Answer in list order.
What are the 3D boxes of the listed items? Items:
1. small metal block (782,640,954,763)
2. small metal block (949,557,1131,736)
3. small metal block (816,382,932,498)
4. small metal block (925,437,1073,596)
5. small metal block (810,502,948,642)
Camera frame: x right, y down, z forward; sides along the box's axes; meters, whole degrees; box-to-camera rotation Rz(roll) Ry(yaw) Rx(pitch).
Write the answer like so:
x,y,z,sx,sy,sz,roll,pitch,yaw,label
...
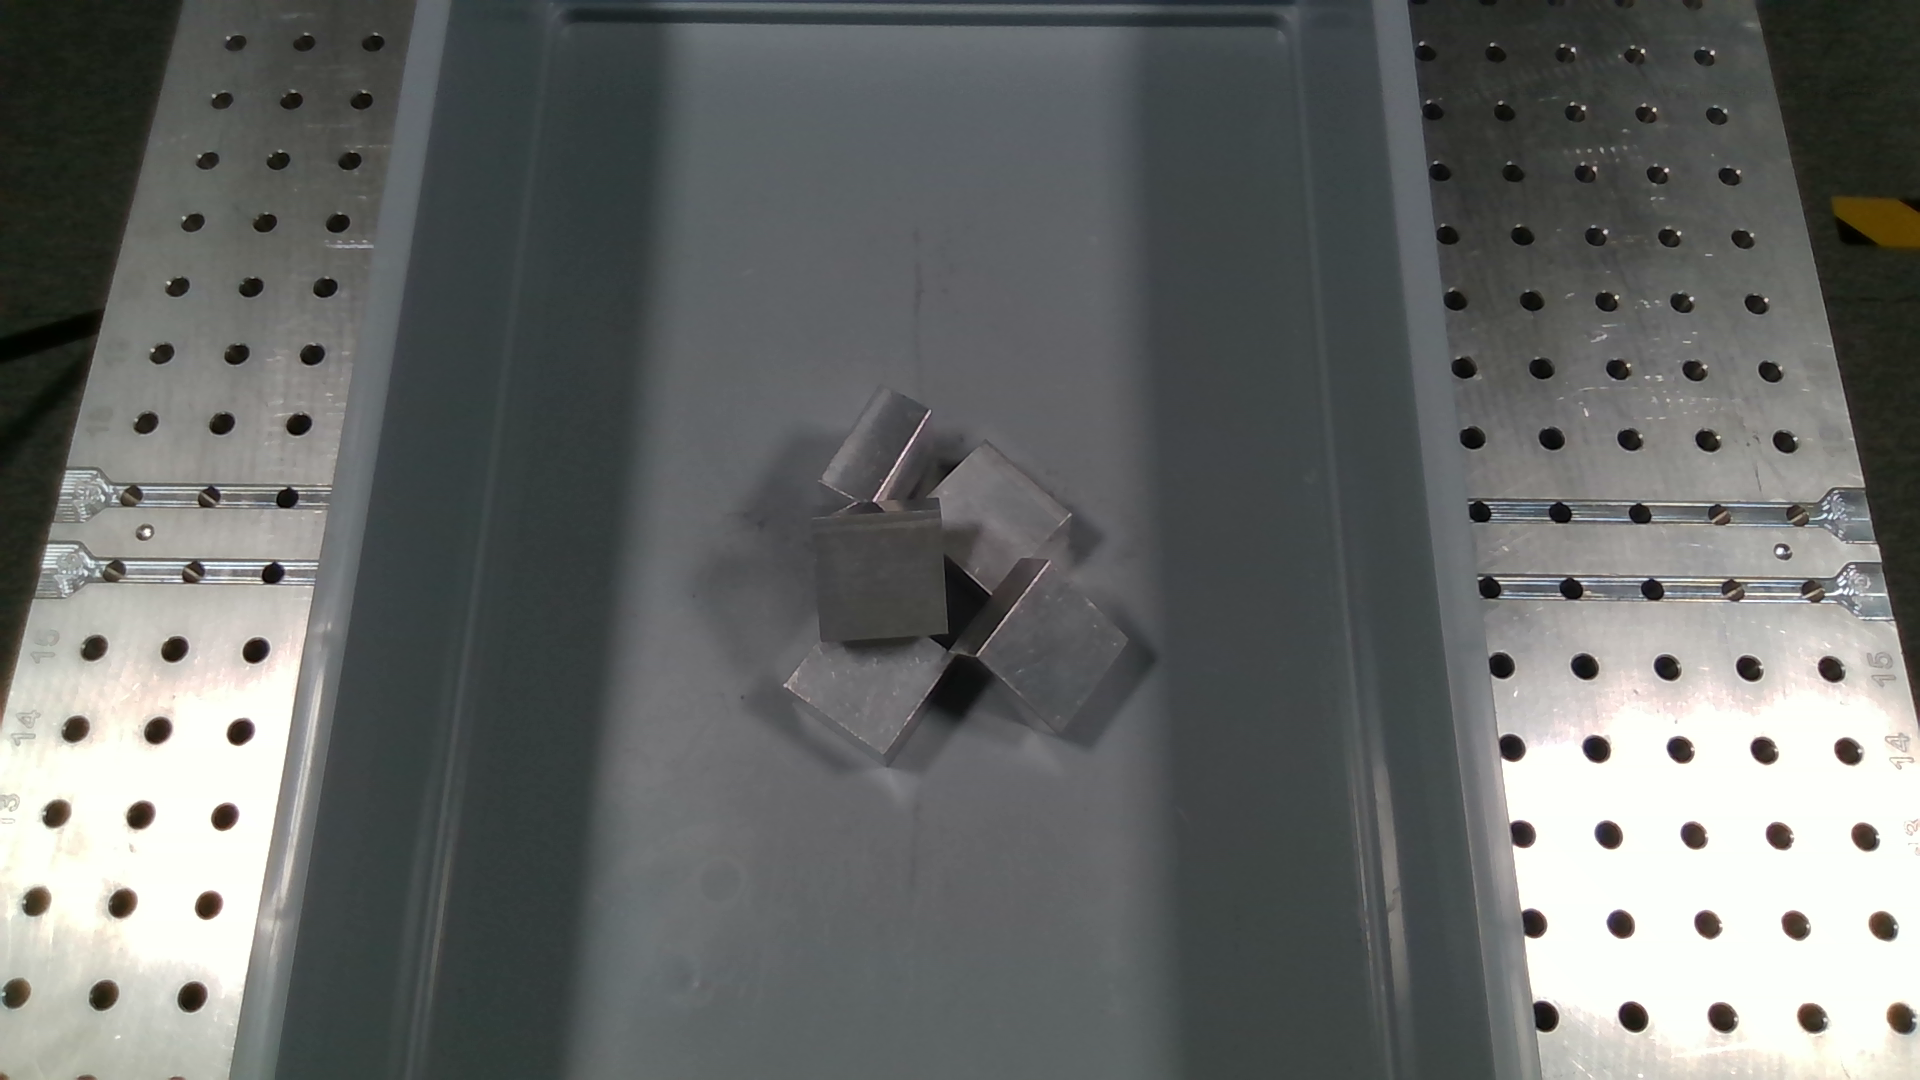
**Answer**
x,y,z,sx,sy,sz,roll,pitch,yaw,label
-0.037,0.057,0.566,0.050,0.025,0.050,33,74,11,small metal block
0.033,0.043,0.560,0.050,0.025,0.050,44,74,-20,small metal block
-0.035,-0.031,0.584,0.025,0.050,0.050,28,73,10,small metal block
0.012,-0.006,0.588,0.050,0.025,0.050,42,75,13,small metal block
-0.032,0.011,0.544,0.050,0.025,0.050,-4,103,-2,small metal block
